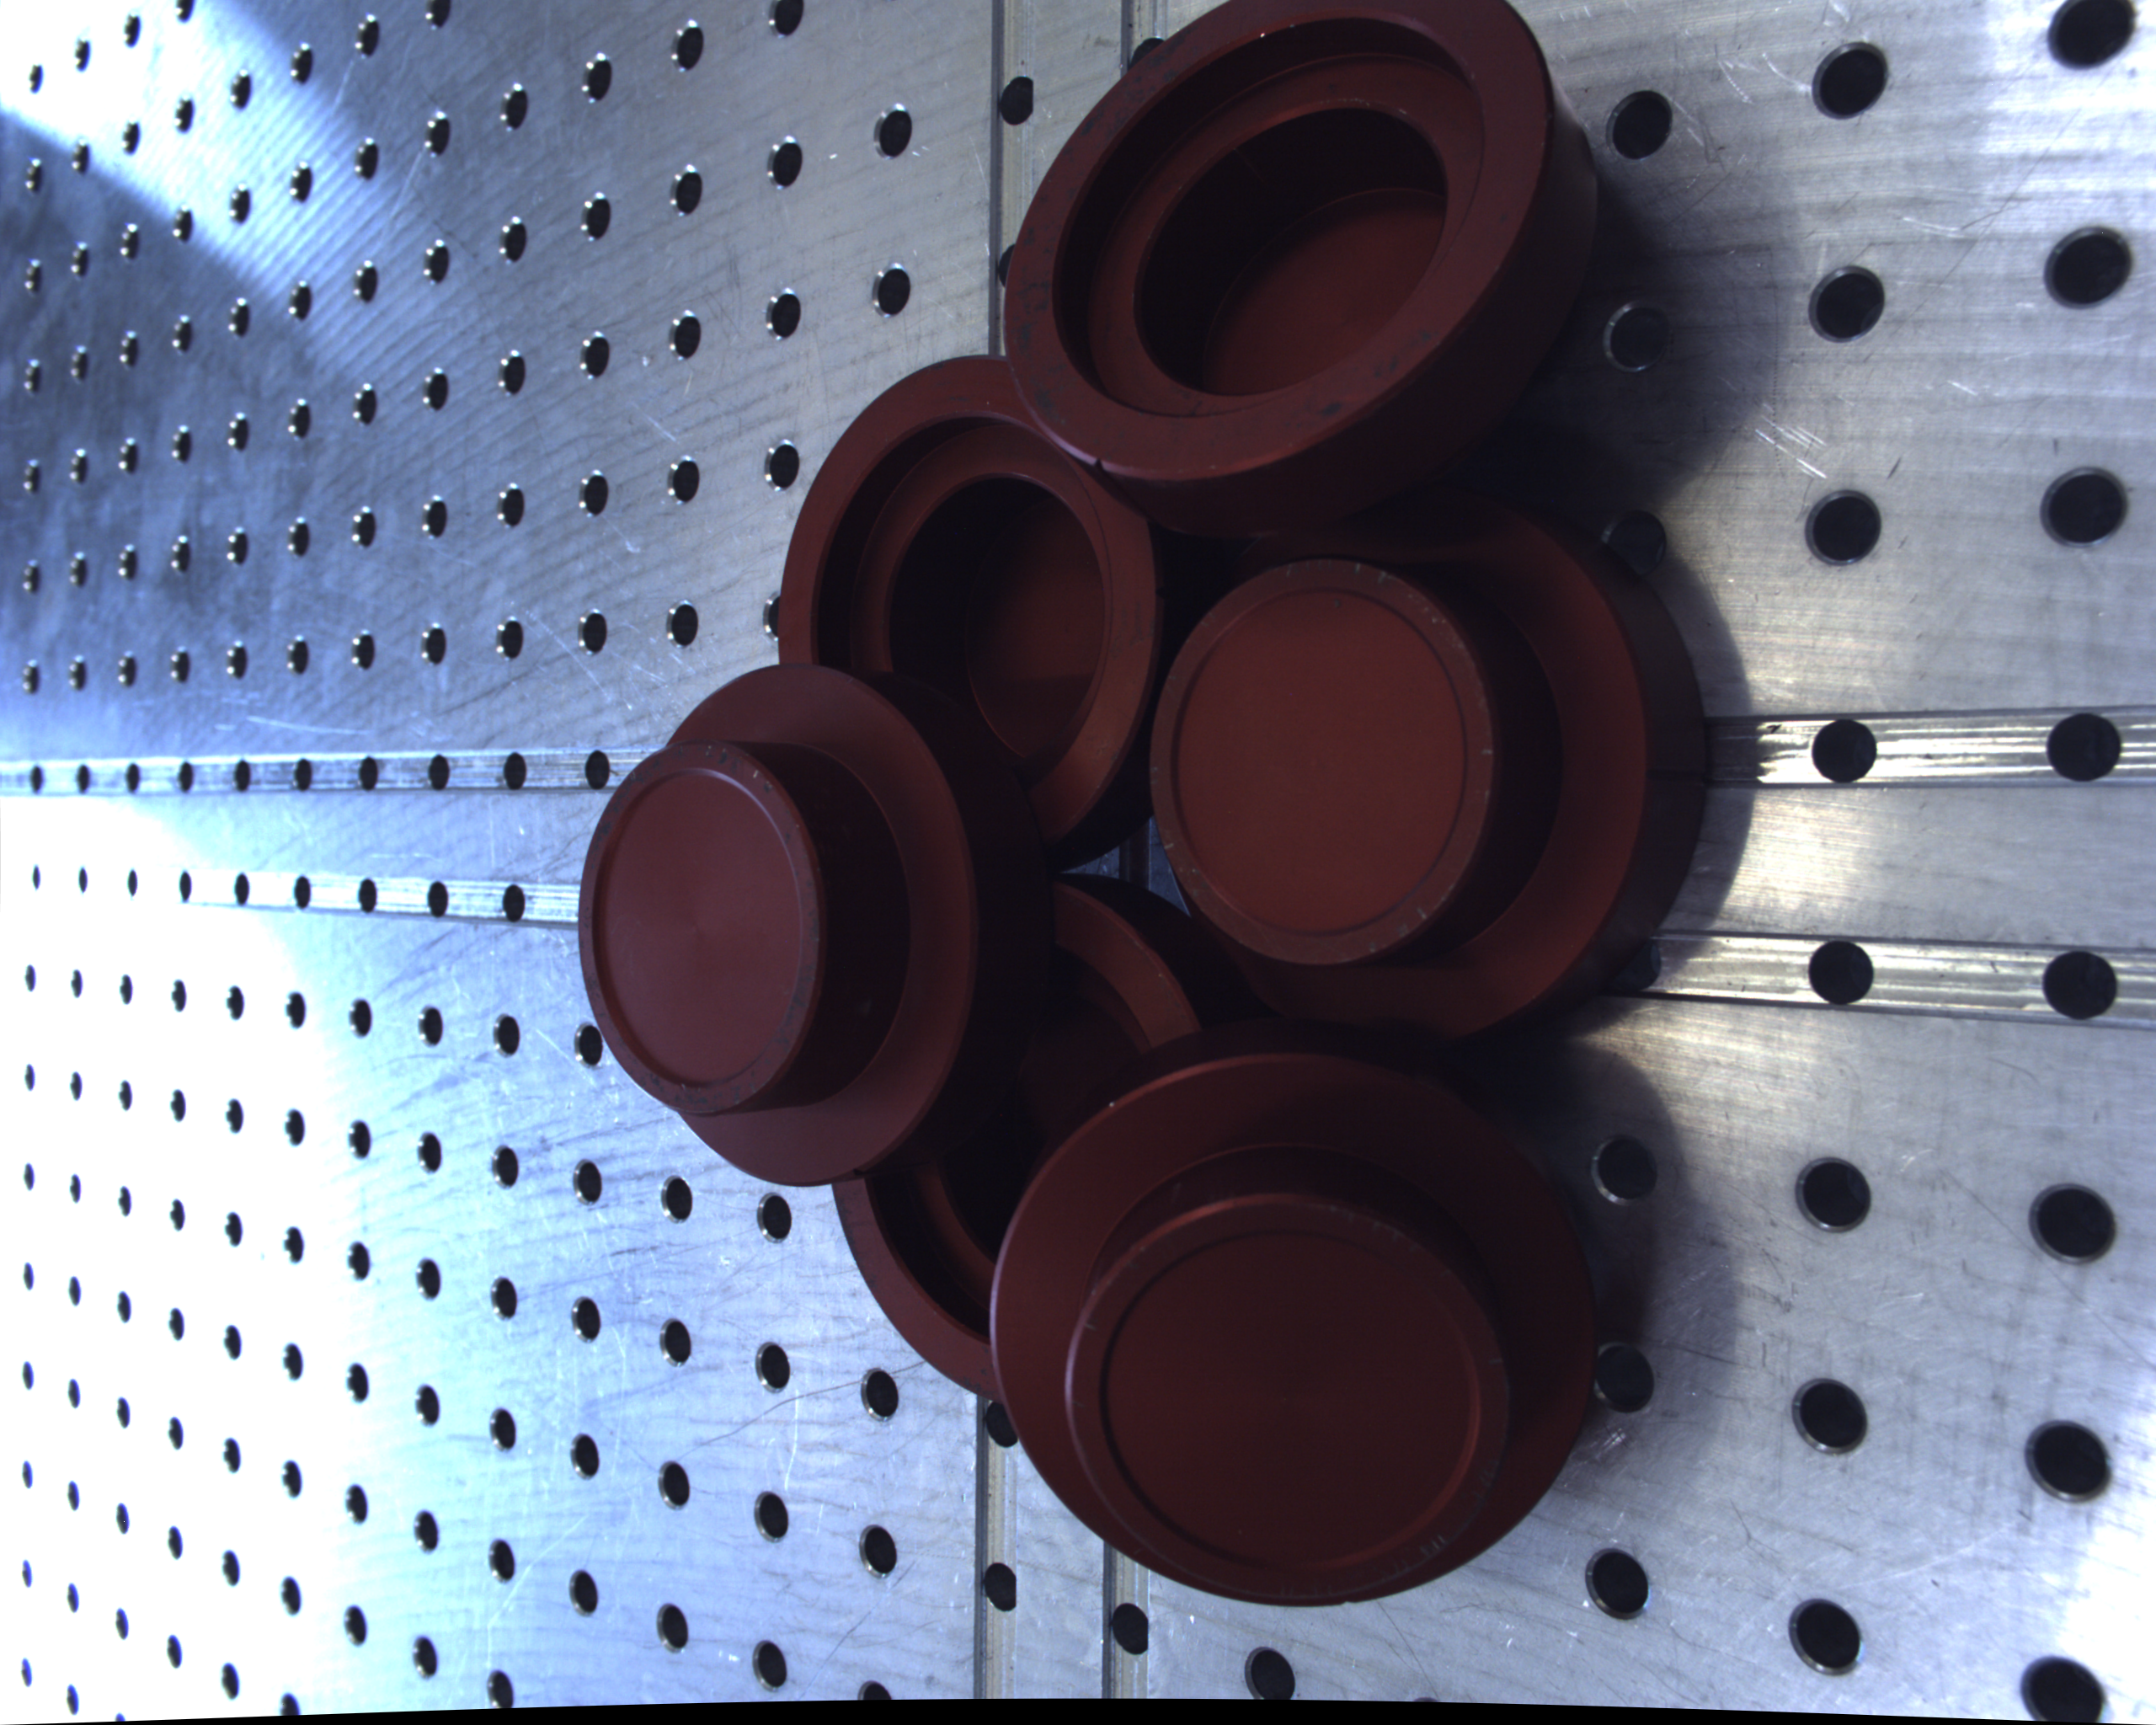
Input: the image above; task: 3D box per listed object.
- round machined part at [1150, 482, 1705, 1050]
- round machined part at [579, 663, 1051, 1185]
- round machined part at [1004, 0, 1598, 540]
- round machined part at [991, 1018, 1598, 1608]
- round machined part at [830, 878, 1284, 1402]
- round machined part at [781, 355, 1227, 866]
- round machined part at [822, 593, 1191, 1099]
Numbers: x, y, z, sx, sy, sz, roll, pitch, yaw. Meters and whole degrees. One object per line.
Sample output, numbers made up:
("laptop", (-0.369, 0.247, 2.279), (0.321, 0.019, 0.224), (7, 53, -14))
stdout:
("round machined part", (0.052, -0.016, 0.356), (0.098, 0.042, 0.097), (0, 90, 40))
("round machined part", (-0.055, 0.011, 0.390), (0.098, 0.042, 0.097), (0, 90, 40))
("round machined part", (0.040, -0.097, 0.352), (0.098, 0.042, 0.098), (-14, 62, 28))
("round machined part", (0.034, 0.078, 0.339), (0.098, 0.042, 0.097), (1, 103, 7))
("round machined part", (0.001, 0.051, 0.398), (0.098, 0.042, 0.097), (0, 90, 40))
("round machined part", (-0.010, -0.046, 0.408), (0.098, 0.042, 0.097), (0, 90, 40))
("round machined part", (-0.015, -0.002, 0.411), (0.098, 0.042, 0.097), (0, 90, 40))
